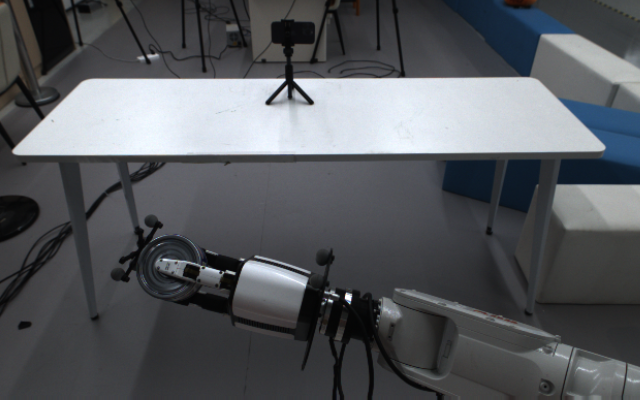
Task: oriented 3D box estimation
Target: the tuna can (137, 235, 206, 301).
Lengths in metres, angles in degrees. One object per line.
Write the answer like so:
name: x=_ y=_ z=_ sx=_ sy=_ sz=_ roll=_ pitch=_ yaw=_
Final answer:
tuna can: x=-0.190 y=0.088 z=0.630 sx=0.085 sy=0.034 sz=0.085 roll=0 pitch=75 yaw=-1
